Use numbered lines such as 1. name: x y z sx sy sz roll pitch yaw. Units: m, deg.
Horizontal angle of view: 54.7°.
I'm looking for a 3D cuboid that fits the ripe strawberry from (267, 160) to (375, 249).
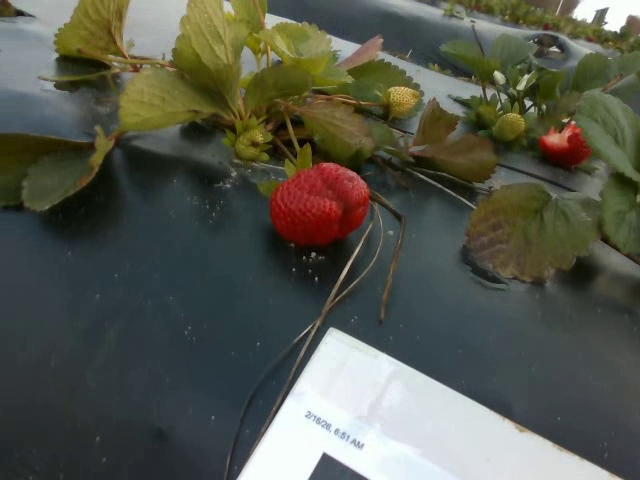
1. ripe strawberry: 0.000 -0.004 0.079 0.017 0.014 0.015 -34 16 -14
